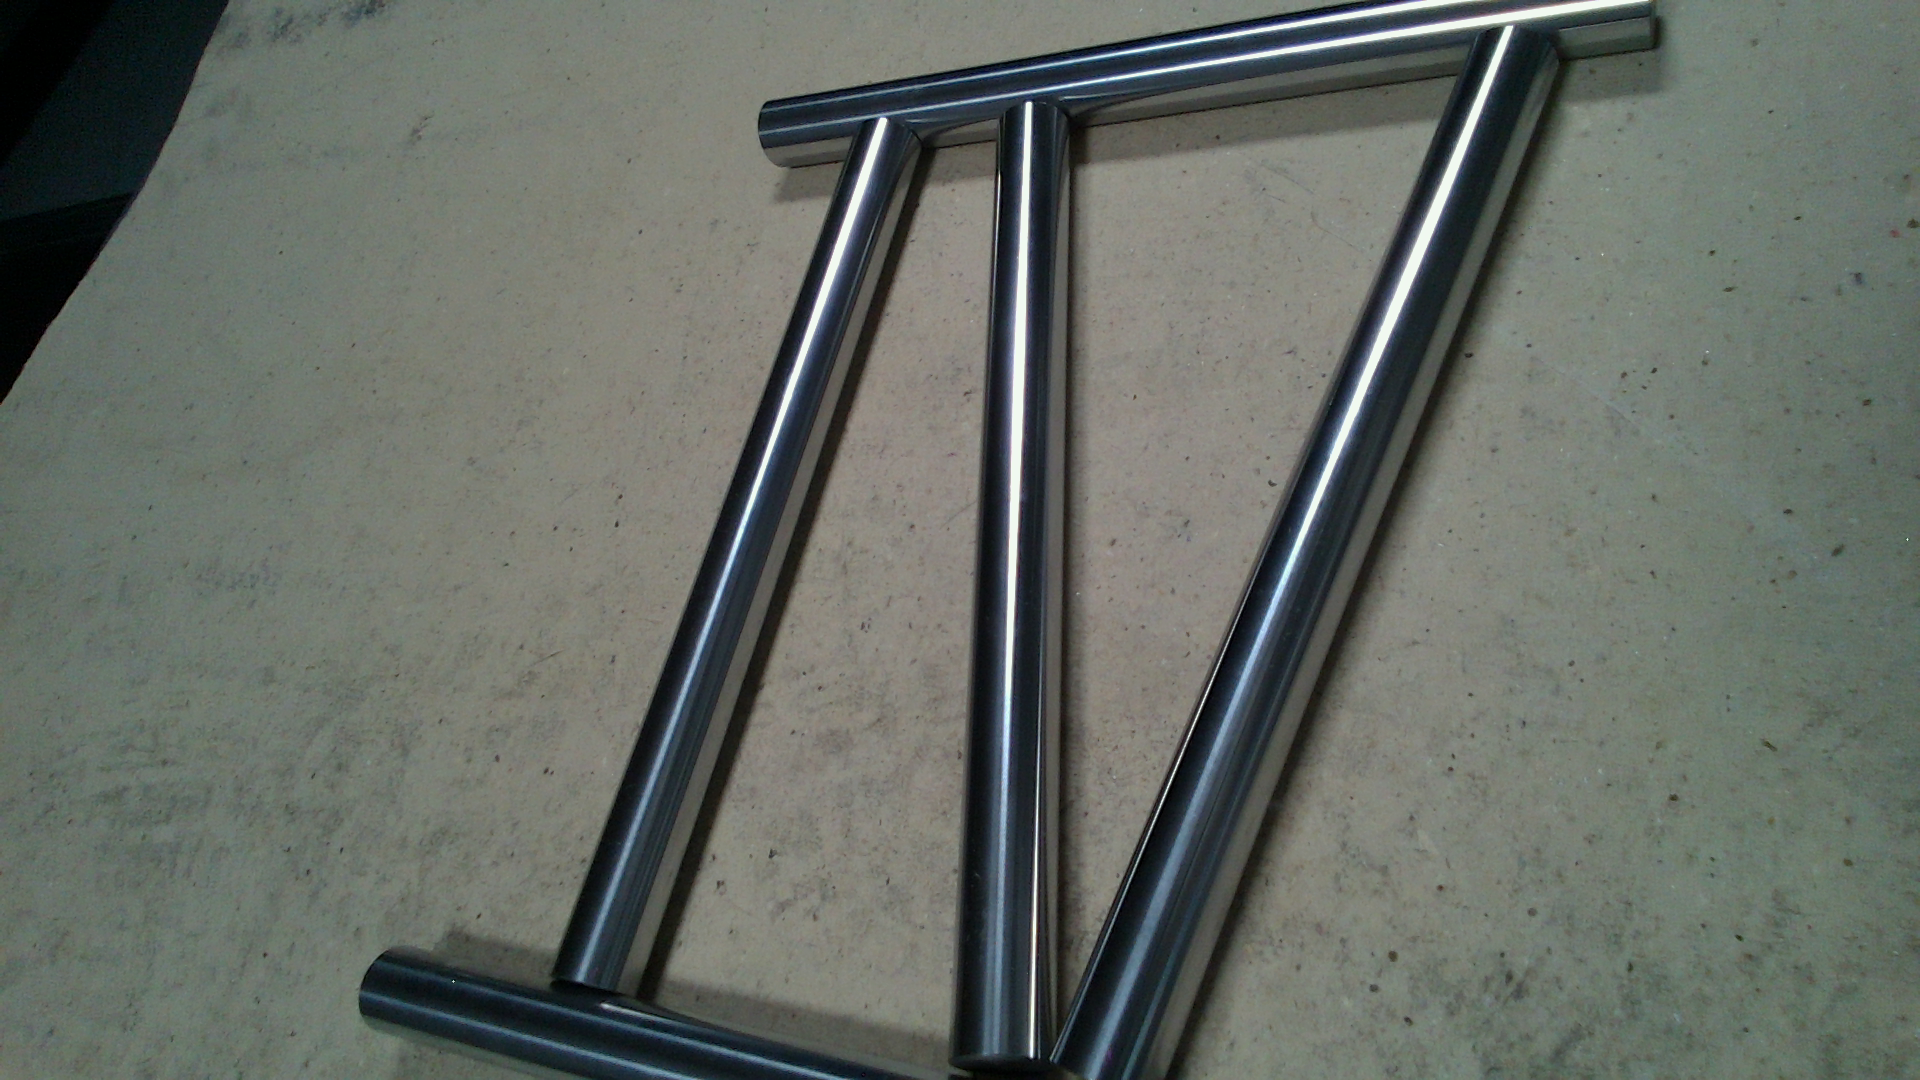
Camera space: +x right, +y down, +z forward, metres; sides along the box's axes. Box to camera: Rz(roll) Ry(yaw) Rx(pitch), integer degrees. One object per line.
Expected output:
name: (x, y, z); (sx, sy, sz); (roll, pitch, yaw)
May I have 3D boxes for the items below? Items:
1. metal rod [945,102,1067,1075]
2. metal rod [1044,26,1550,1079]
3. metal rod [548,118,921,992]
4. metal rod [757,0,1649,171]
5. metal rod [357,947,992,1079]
metal rod: (0.016, -0.009, 0.390); (0.025, 0.025, 0.300); (-11, 57, 23)
metal rod: (0.093, -0.009, 0.348); (0.025, 0.025, 0.300); (14, 69, 34)
metal rod: (-0.063, -0.011, 0.434); (0.025, 0.025, 0.300); (1, 62, 29)
metal rod: (0.061, -0.152, 0.455); (0.299, 0.025, 0.025); (1, 62, 29)
metal rod: (-0.034, 0.133, 0.329); (0.299, 0.025, 0.025); (1, 62, 29)
